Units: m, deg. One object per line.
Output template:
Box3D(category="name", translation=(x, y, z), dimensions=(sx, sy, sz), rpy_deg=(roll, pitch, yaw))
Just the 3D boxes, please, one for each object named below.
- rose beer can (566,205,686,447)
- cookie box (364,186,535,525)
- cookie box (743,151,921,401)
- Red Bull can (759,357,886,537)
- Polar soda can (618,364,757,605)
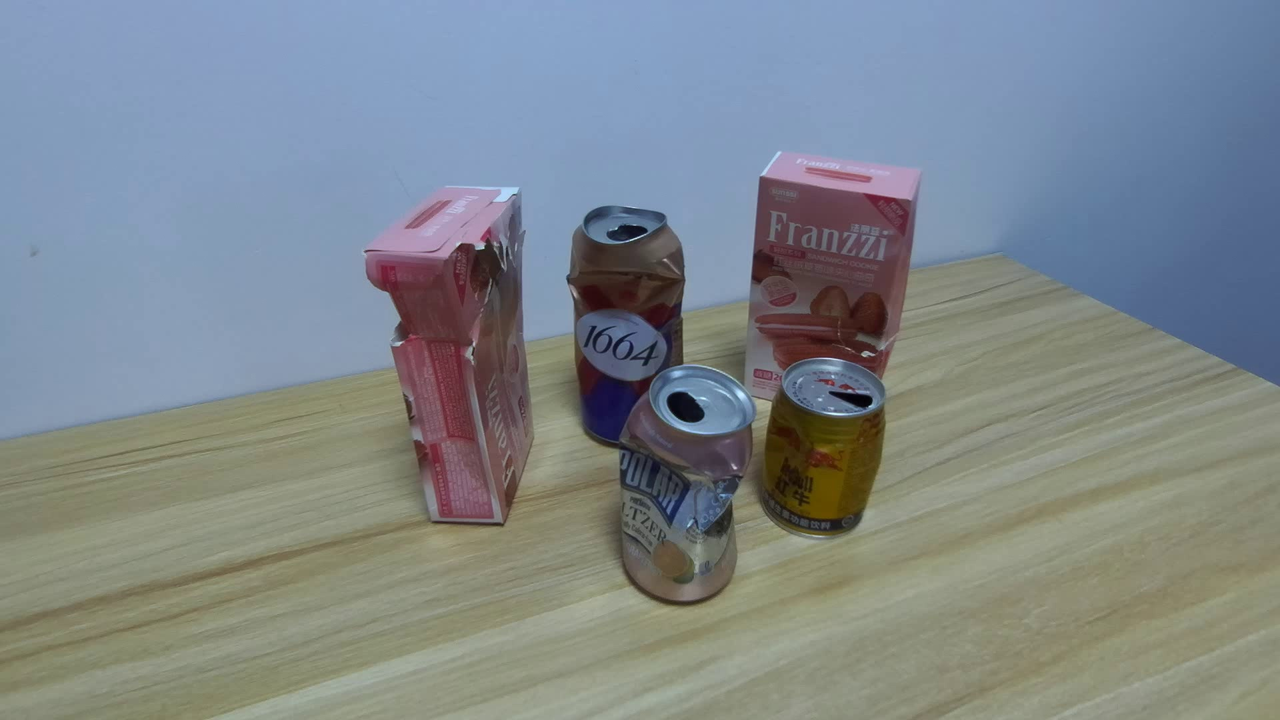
Box3D(category="rose beer can", translation=(-0.008, -0.020, 0.479), dimensions=(0.074, 0.162, 0.068), rpy_deg=(-7, 33, -9))
Box3D(category="cookie box", translation=(-0.099, 0.001, 0.426), dimensions=(0.059, 0.186, 0.105), rpy_deg=(3, 32, 6))
Box3D(category="cookie box", translation=(0.134, -0.043, 0.498), dimensions=(0.105, 0.188, 0.049), rpy_deg=(14, 40, 20))
Box3D(category="Red Bull can", translation=(0.111, 0.053, 0.427), dimensions=(0.069, 0.092, 0.069), rpy_deg=(0, 33, 0))
Box3D(category="Polar soda can", translation=(0.029, 0.069, 0.378), dimensions=(0.067, 0.122, 0.070), rpy_deg=(-14, 36, -30))
